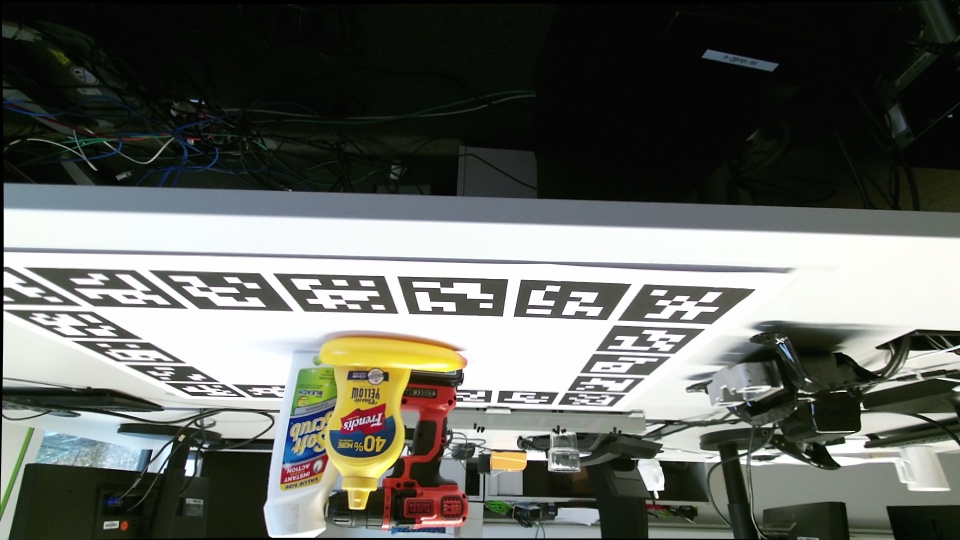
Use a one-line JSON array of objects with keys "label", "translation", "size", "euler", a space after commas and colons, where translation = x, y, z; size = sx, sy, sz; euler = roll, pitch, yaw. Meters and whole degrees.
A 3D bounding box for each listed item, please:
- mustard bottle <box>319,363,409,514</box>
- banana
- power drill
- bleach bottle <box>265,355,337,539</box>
[{"label": "mustard bottle", "translation": [-0.144, 0.193, 0.655], "size": [0.096, 0.190, 0.058], "euler": [2, 152, 1]}, {"label": "banana", "translation": [-0.121, 0.105, 0.670], "size": [0.198, 0.038, 0.074], "euler": [2, 151, -5]}, {"label": "power drill", "translation": [-0.105, 0.246, 0.708], "size": [0.185, 0.186, 0.057], "euler": [9, 152, -10]}, {"label": "bleach bottle", "translation": [-0.216, 0.240, 0.695], "size": [0.103, 0.249, 0.068], "euler": [3, 157, -2]}]
